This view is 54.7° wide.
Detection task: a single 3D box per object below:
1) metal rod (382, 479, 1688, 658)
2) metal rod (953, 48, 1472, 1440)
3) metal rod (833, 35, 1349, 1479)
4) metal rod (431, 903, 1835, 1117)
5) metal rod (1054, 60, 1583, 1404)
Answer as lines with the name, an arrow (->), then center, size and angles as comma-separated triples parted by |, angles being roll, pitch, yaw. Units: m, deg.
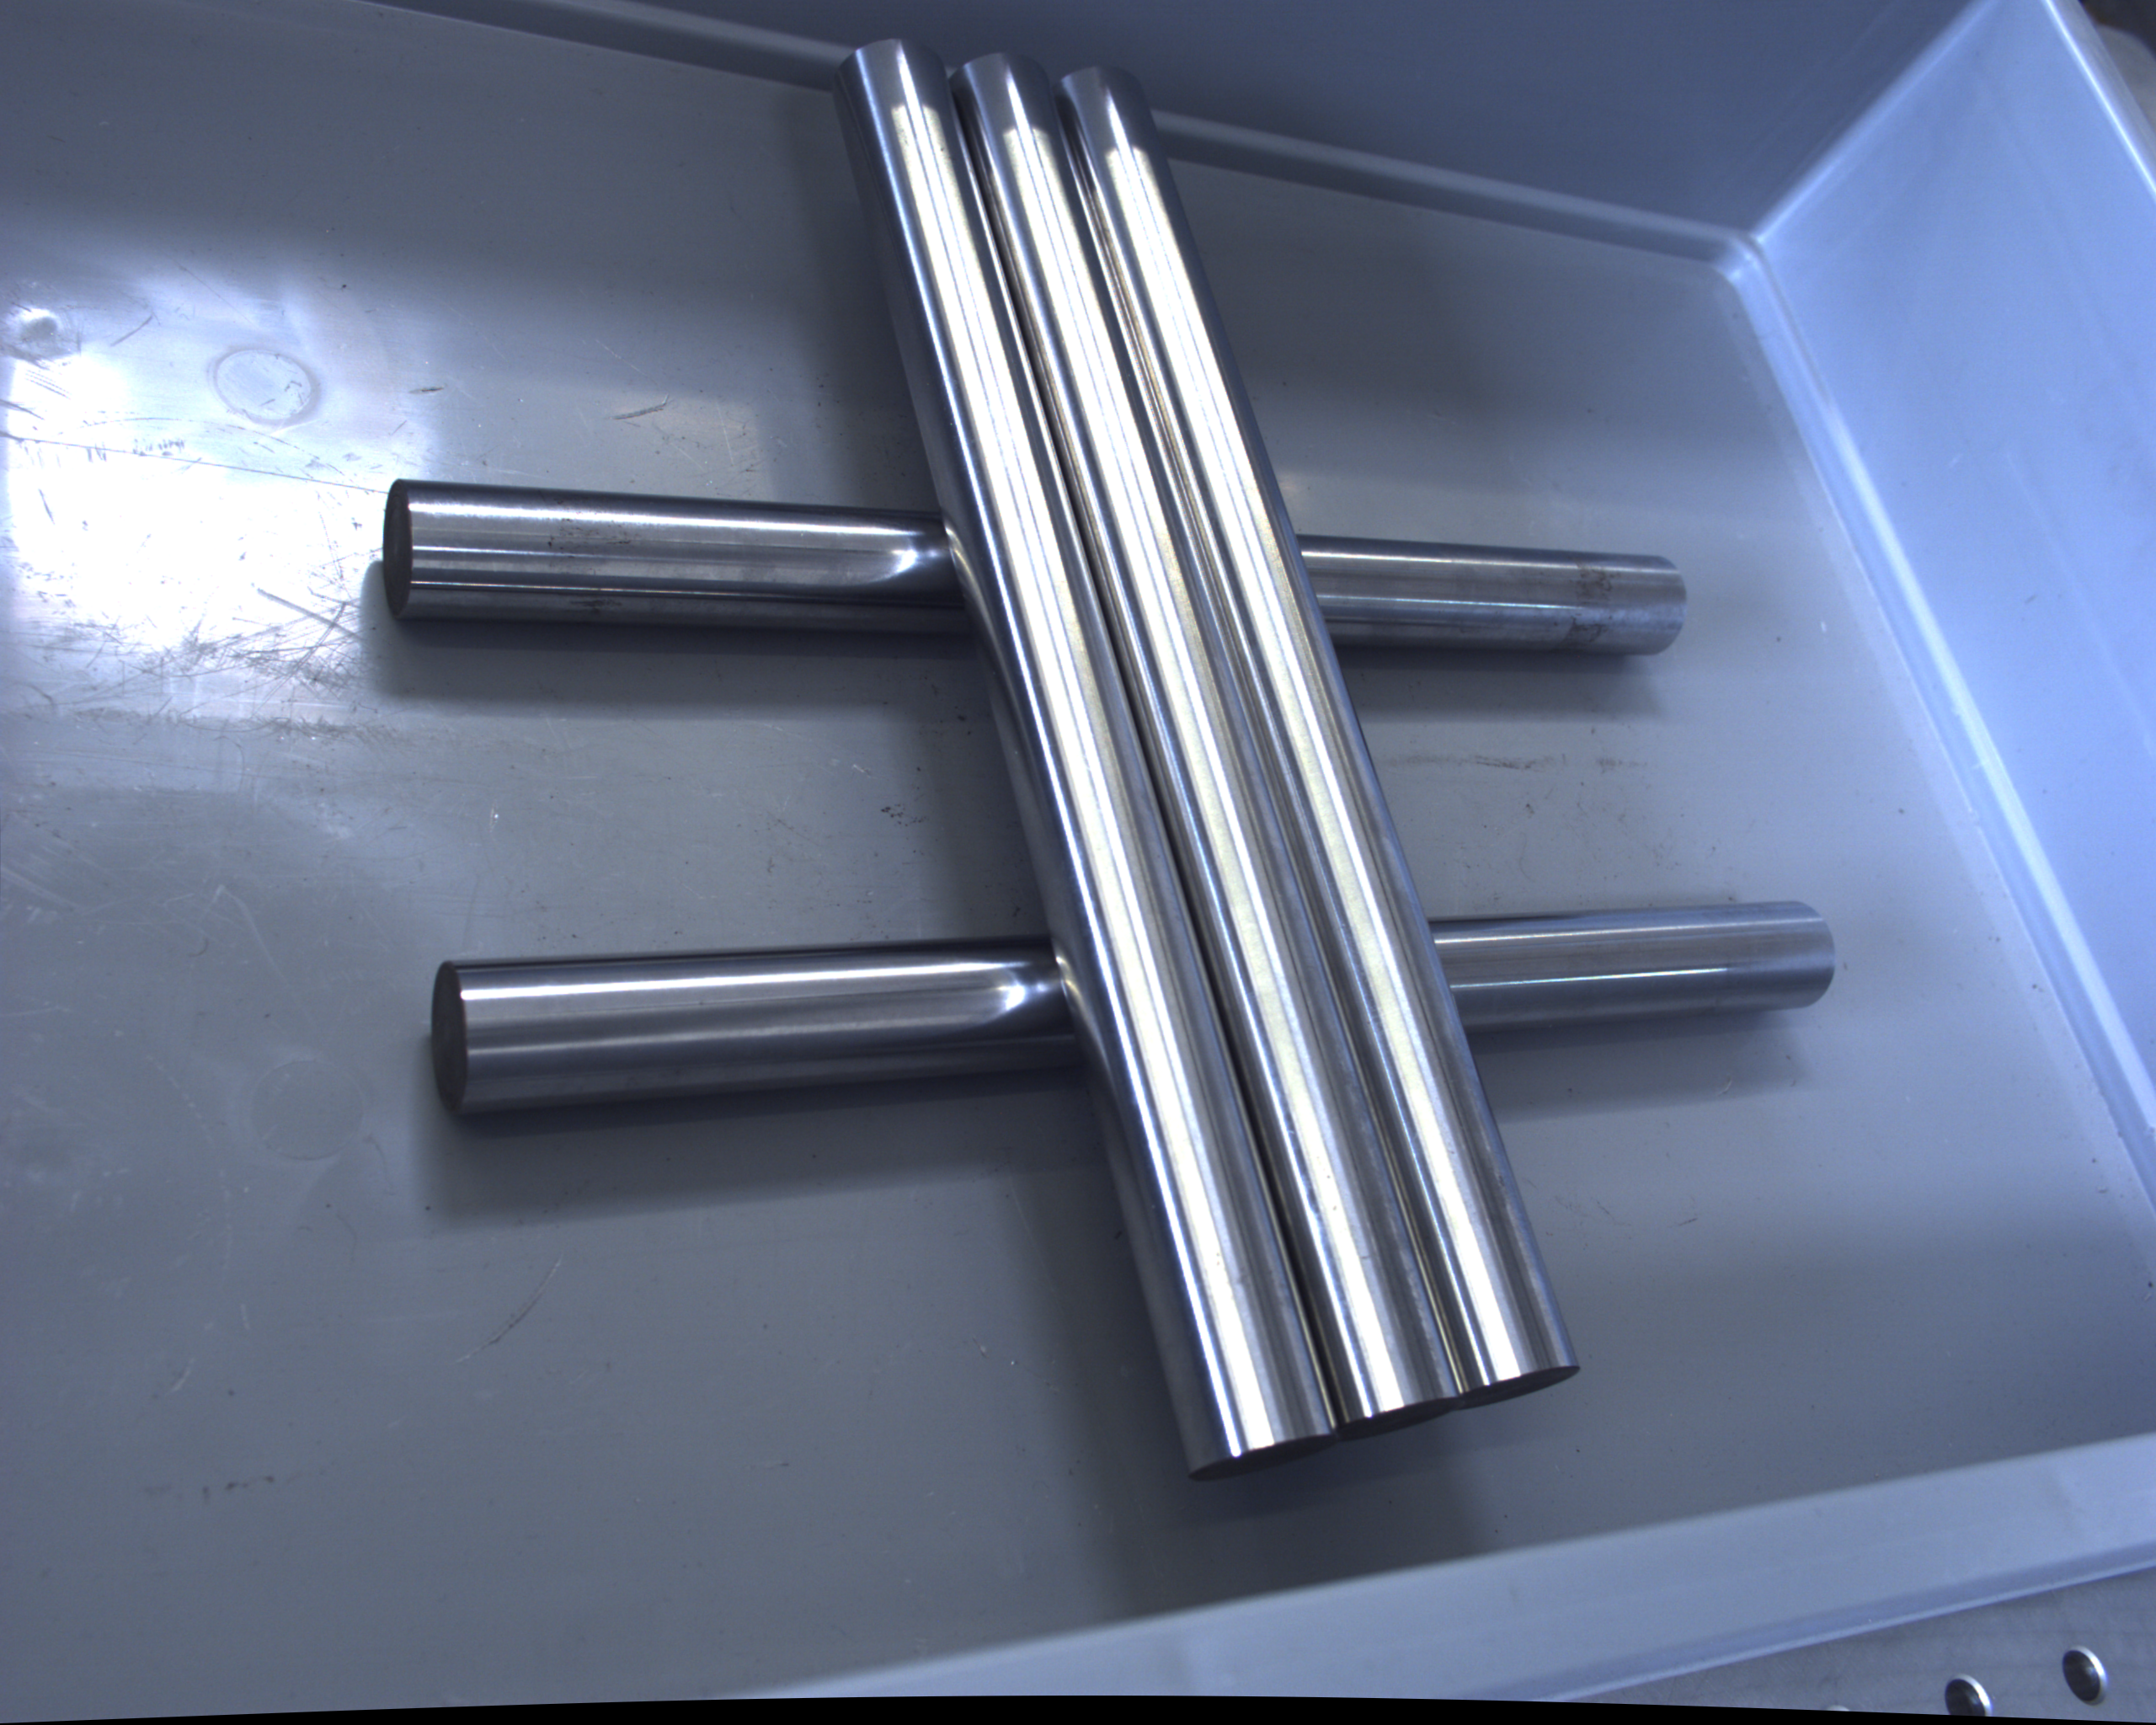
metal rod -> 0.010, -0.060, 0.446 | 0.303, 0.025, 0.025 | -2, 63, -29
metal rod -> 0.017, -0.040, 0.404 | 0.025, 0.025, 0.299 | -1, 62, -29
metal rod -> -0.005, -0.038, 0.391 | 0.025, 0.025, 0.299 | -1, 62, -29
metal rod -> 0.032, 0.025, 0.406 | 0.303, 0.025, 0.025 | -1, 63, -29
metal rod -> 0.038, -0.042, 0.417 | 0.025, 0.025, 0.299 | -1, 62, -29
